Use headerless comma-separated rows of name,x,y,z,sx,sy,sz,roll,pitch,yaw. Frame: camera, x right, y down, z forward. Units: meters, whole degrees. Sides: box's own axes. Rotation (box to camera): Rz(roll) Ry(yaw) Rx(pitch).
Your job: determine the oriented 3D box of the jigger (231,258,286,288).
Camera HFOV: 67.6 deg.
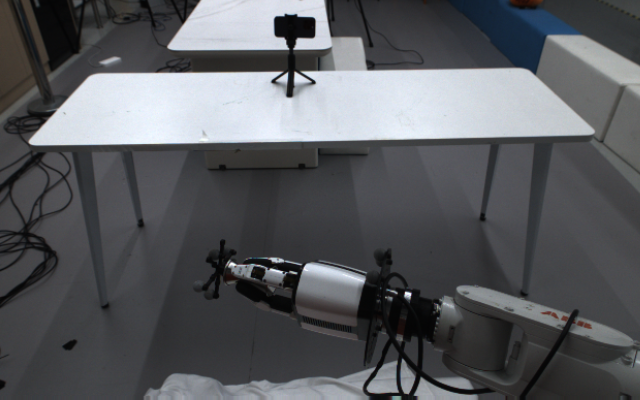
jigger,-0.092,0.105,0.688,0.071,0.043,0.043,10,35,16
